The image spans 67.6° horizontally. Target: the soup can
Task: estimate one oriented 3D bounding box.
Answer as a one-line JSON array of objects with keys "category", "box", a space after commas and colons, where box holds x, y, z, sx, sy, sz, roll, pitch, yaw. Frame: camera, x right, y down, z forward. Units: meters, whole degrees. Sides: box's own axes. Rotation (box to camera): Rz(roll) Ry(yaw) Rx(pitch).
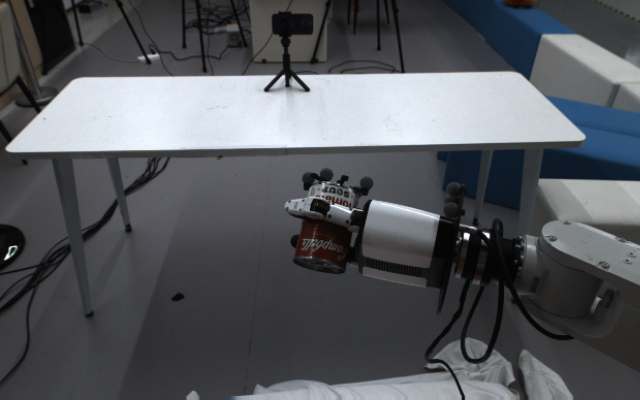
[{"category": "soup can", "box": [0.010, 0.036, 0.612, 0.067, 0.067, 0.101, 9, 71, 9]}]
